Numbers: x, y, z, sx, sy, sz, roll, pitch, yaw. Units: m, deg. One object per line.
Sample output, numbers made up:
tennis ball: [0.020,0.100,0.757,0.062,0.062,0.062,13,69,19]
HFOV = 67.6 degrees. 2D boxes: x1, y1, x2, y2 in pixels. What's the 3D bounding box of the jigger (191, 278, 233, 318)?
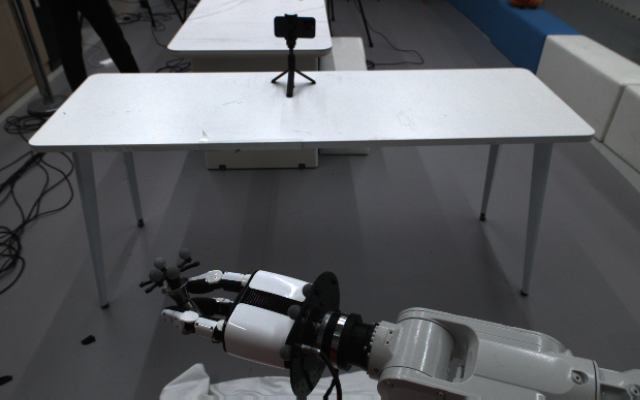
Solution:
jigger: [-0.184,0.146,0.681,0.043,0.071,0.043,-22,16,6]
